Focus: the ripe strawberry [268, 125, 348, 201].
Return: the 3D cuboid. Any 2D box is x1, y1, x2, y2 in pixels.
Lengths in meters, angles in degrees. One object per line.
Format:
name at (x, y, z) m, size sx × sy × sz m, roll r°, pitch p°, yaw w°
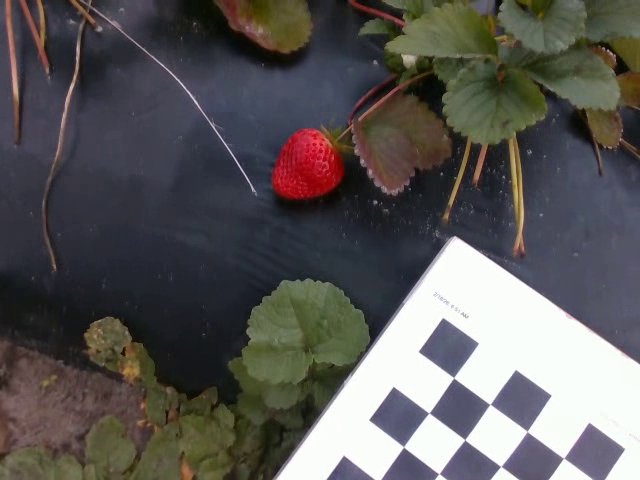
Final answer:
ripe strawberry at (-0.007, -0.028, 0.223) m, size 0.032 × 0.029 × 0.023 m, roll -39°, pitch -10°, yaw -3°
